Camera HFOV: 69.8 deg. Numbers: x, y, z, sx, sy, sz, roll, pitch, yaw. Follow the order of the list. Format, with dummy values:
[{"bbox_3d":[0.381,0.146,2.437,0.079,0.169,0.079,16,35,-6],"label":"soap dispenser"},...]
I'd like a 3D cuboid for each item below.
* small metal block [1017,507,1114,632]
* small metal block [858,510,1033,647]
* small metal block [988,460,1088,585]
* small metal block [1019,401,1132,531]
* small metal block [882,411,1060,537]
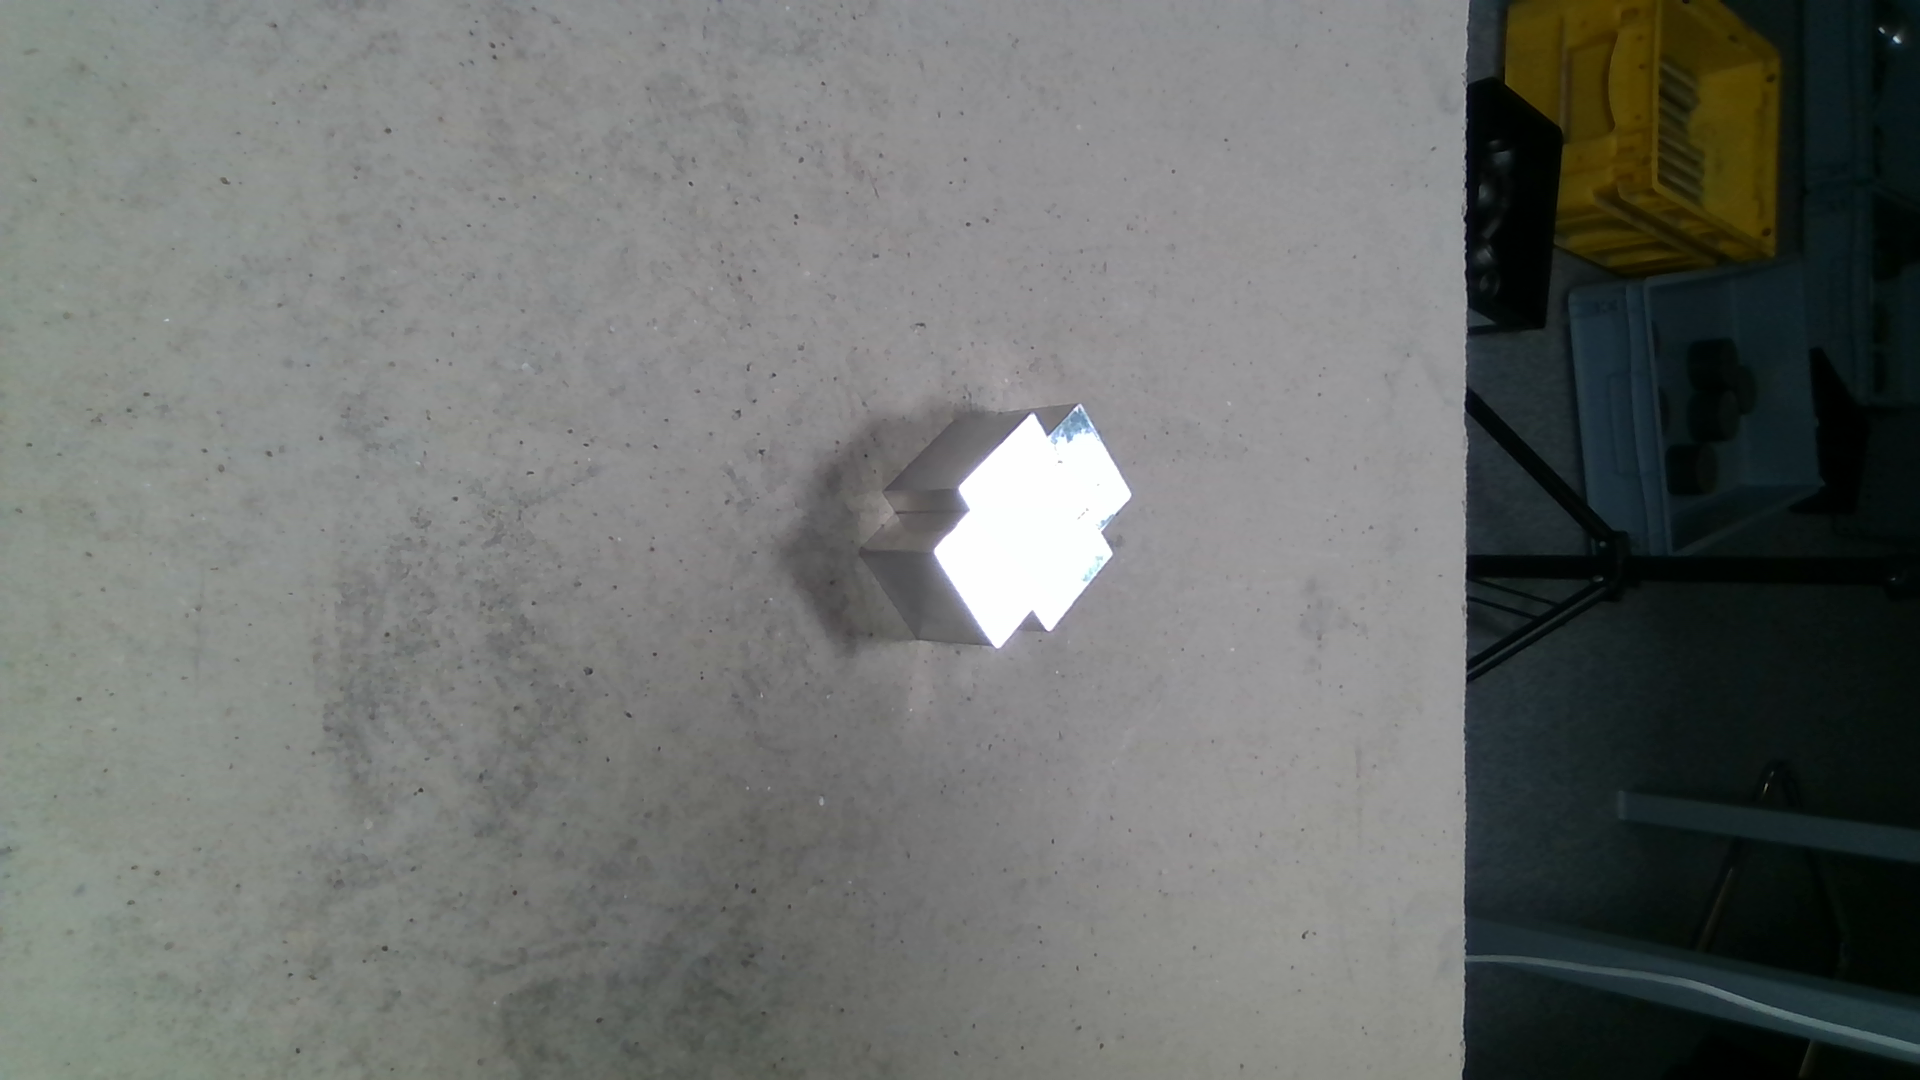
[{"bbox_3d":[0.029,0.012,0.591,0.050,0.050,0.025,-48,119,-29],"label":"small metal block"},{"bbox_3d":[-0.006,0.015,0.561,0.025,0.050,0.050,-47,118,-30],"label":"small metal block"},{"bbox_3d":[0.017,-0.007,0.580,0.050,0.050,0.025,-48,118,-30],"label":"small metal block"},{"bbox_3d":[0.039,-0.031,0.599,0.025,0.050,0.050,-47,118,-30],"label":"small metal block"},{"bbox_3d":[0.004,-0.027,0.570,0.050,0.050,0.025,-48,118,-30],"label":"small metal block"}]
